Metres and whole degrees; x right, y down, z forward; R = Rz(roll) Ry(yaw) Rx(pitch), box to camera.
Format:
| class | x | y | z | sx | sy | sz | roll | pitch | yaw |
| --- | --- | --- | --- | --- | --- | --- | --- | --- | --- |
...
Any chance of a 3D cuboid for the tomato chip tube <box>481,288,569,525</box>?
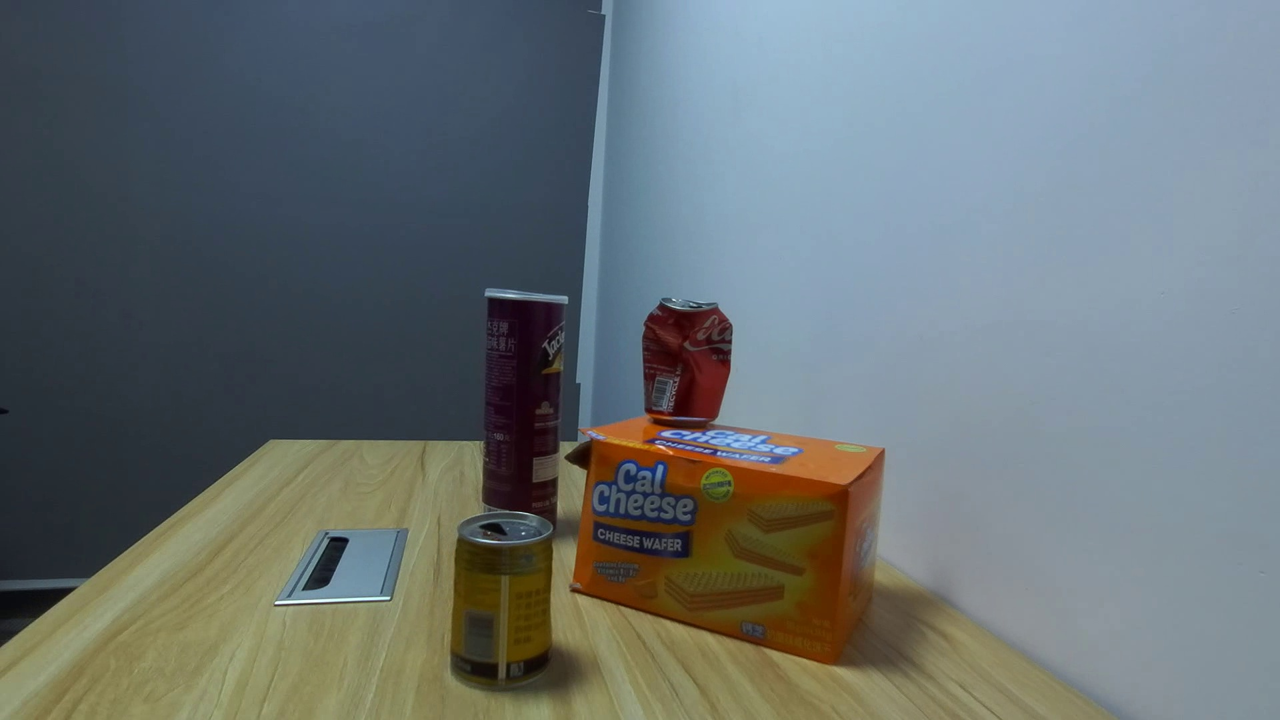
| class | x | y | z | sx | sy | sz | roll | pitch | yaw |
| --- | --- | --- | --- | --- | --- | --- | --- | --- | --- |
| tomato chip tube | -0.116 | 0.054 | 0.702 | 0.078 | 0.233 | 0.078 | 3 | 5 | 0 |

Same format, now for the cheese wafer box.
| class | x | y | z | sx | sy | sz | roll | pitch | yaw |
| --- | --- | --- | --- | --- | --- | --- | --- | --- | --- |
| cheese wafer box | 0.071 | 0.127 | 0.577 | 0.226 | 0.137 | 0.150 | 6 | 6 | 28 |

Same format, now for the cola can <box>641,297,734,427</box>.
| class | x | y | z | sx | sy | sz | roll | pitch | yaw |
| --- | --- | --- | --- | --- | --- | --- | --- | --- | --- |
| cola can | 0.039 | 0.000 | 0.634 | 0.066 | 0.112 | 0.069 | -5 | 13 | -43 |

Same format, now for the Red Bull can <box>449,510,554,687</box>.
| class | x | y | z | sx | sy | sz | roll | pitch | yaw |
| --- | --- | --- | --- | --- | --- | --- | --- | --- | --- |
| Red Bull can | -0.088 | 0.151 | 0.453 | 0.069 | 0.092 | 0.069 | 3 | 4 | 0 |
